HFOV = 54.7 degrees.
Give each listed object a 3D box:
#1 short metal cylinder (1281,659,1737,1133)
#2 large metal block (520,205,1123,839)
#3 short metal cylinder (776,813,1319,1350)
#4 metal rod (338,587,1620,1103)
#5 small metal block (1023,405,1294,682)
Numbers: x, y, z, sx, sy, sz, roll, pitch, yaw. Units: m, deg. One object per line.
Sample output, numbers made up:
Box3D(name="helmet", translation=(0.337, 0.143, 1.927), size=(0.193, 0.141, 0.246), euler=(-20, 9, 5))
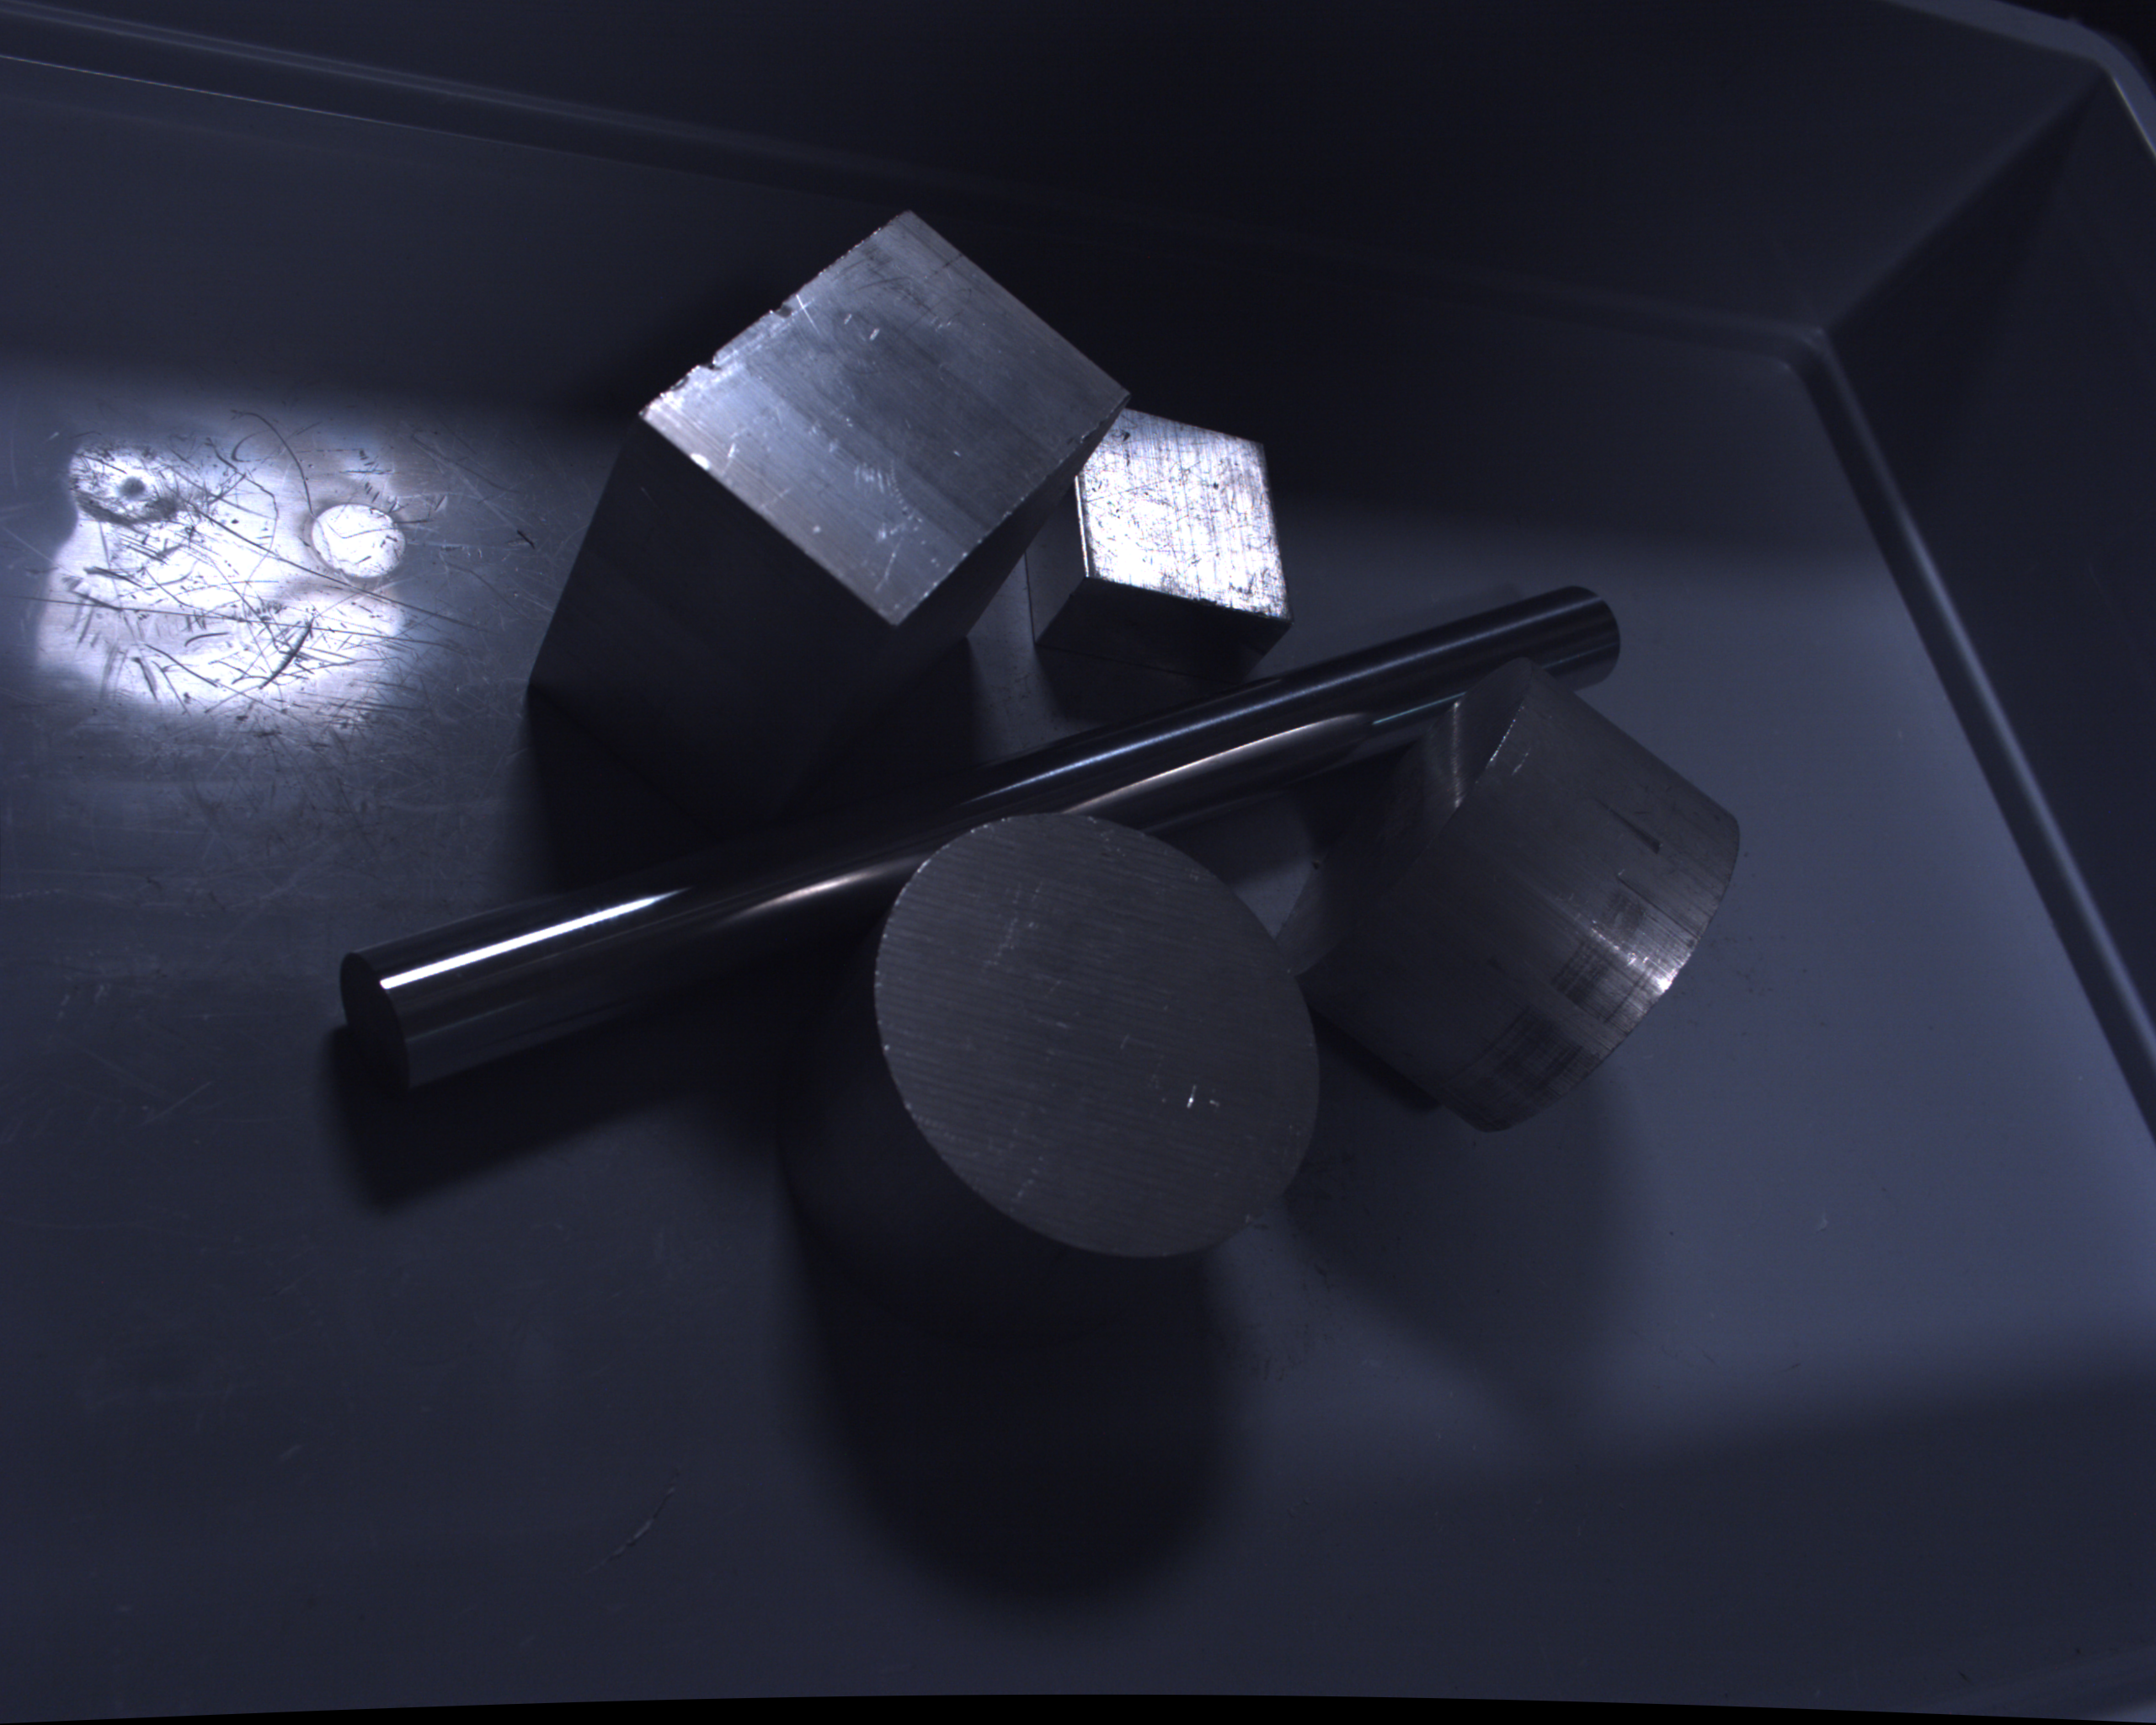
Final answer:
Box3D(name="short metal cylinder", translation=(0.082, 0.006, 0.412), size=(0.050, 0.080, 0.080), euler=(37, 51, -4))
Box3D(name="large metal block", translation=(-0.048, -0.060, 0.381), size=(0.050, 0.080, 0.080), euler=(40, 51, -2))
Box3D(name="short metal cylinder", translation=(-0.006, 0.038, 0.362), size=(0.081, 0.050, 0.080), euler=(14, 56, -21))
Box3D(name="metal rod", translation=(0.005, -0.014, 0.417), size=(0.302, 0.025, 0.025), euler=(-19, 72, -36))
Box3D(name="small metal block", translation=(0.016, -0.071, 0.457), size=(0.050, 0.025, 0.050), euler=(8, 58, -24))
